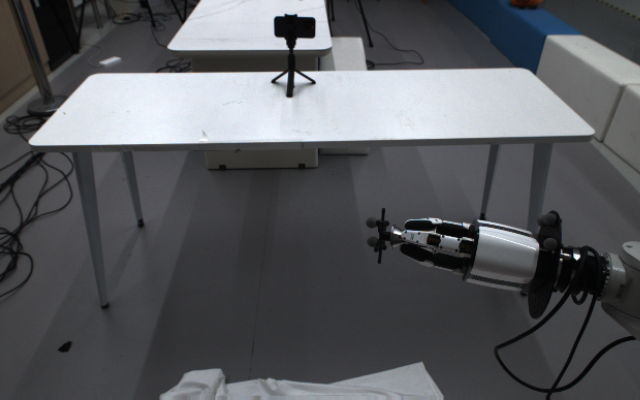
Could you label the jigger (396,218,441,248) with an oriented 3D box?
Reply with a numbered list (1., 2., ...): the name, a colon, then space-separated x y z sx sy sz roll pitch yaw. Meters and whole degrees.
1. jigger: 0.155 0.055 0.760 0.071 0.043 0.043 3 34 18
